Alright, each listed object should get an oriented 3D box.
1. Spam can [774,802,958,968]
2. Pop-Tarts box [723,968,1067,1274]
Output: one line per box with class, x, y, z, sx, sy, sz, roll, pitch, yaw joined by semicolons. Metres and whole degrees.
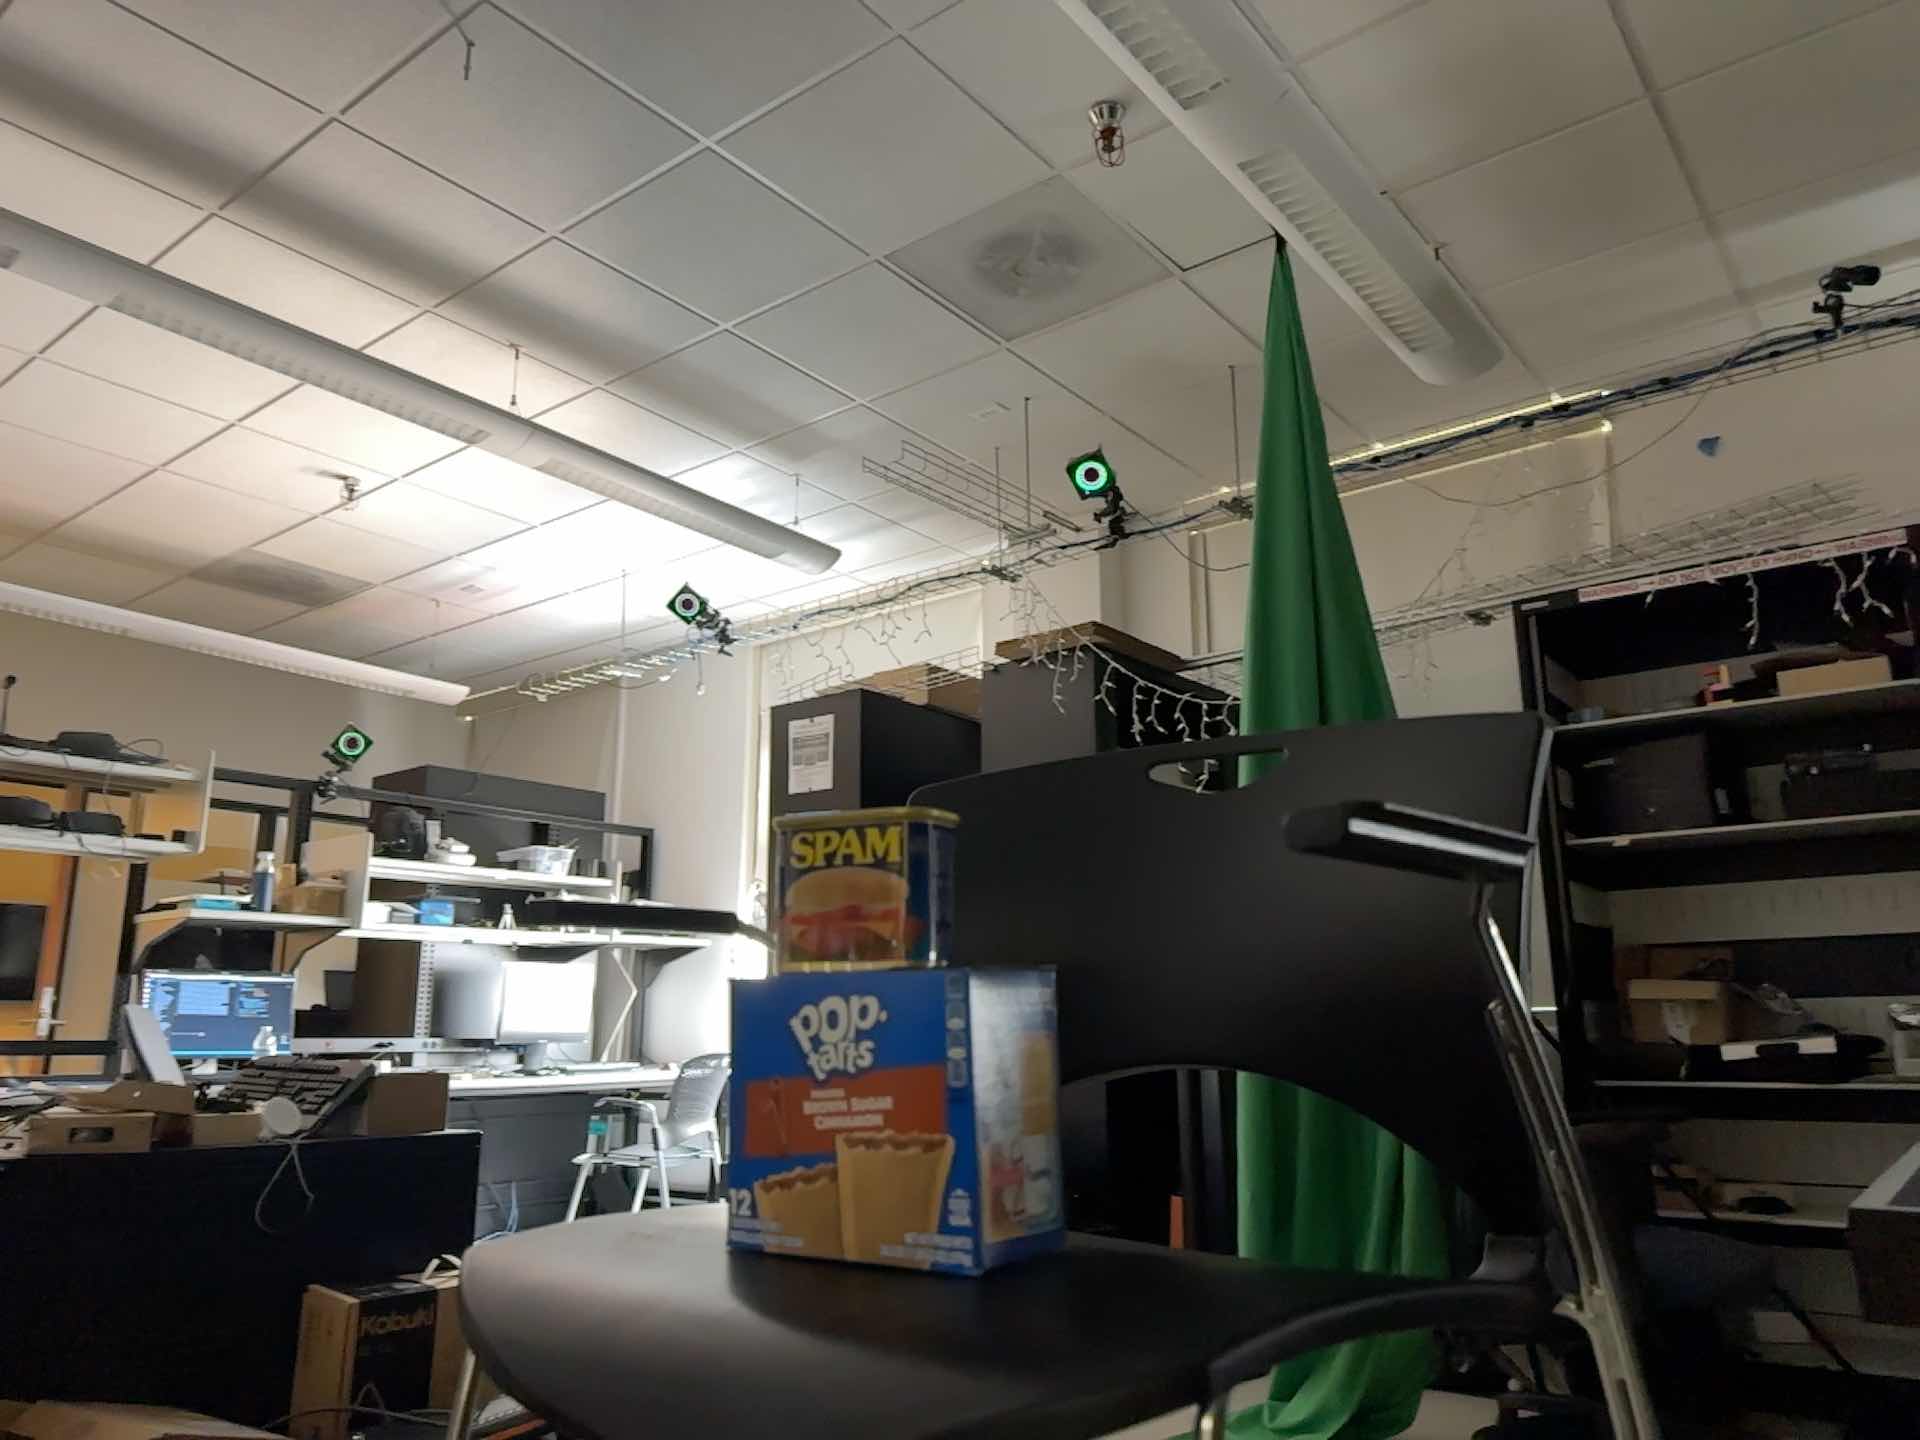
Spam can;-0.052;0.091;0.730;0.100;0.083;0.056;-6;-11;31
Pop-Tarts box;-0.038;0.203;0.709;0.161;0.135;0.075;-8;-12;34
